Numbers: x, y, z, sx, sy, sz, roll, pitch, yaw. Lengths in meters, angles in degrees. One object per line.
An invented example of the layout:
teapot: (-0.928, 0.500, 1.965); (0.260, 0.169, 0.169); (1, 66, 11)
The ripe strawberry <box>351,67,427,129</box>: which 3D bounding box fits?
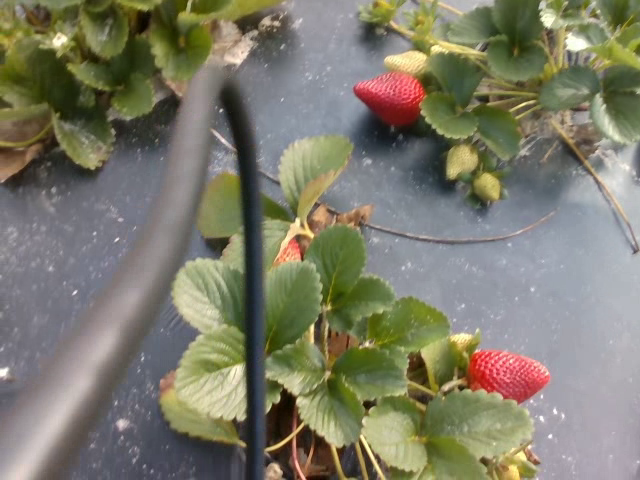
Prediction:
ripe strawberry: (0.047, -0.114, 0.538); (0.055, 0.048, 0.051); (10, 16, -30)
